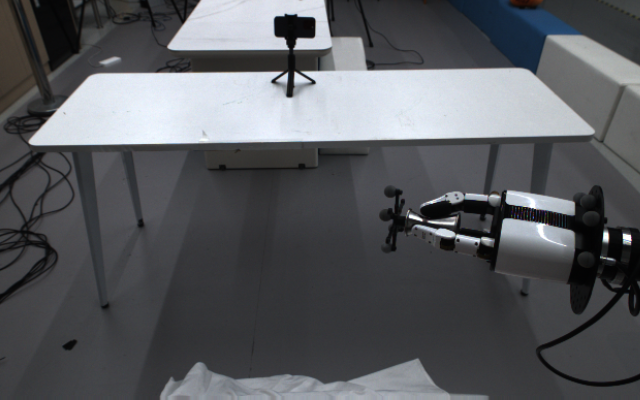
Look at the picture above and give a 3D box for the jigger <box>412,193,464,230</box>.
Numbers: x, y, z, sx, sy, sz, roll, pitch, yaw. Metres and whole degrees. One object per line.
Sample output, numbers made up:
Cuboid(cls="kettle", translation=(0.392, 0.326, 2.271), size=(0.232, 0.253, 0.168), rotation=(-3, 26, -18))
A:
Cuboid(cls="jigger", translation=(0.159, 0.031, 0.657), size=(0.071, 0.043, 0.043), rotation=(7, 34, 22))
